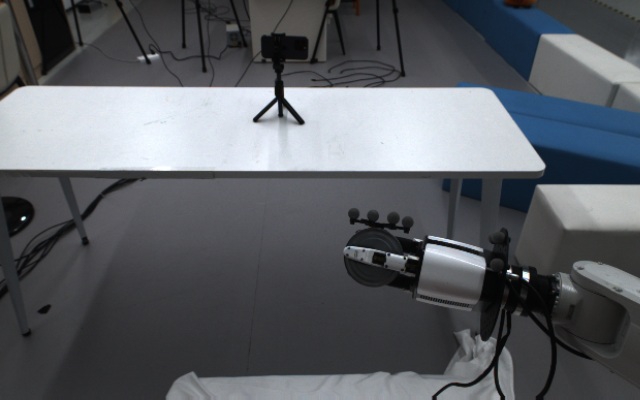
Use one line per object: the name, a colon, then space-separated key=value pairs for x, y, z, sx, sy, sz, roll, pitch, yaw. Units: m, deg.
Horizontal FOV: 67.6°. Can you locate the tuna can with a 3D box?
tuna can: x=0.080 y=0.080 z=0.704 sx=0.085 sy=0.085 sz=0.034 roll=11 pitch=-7 yaw=13
